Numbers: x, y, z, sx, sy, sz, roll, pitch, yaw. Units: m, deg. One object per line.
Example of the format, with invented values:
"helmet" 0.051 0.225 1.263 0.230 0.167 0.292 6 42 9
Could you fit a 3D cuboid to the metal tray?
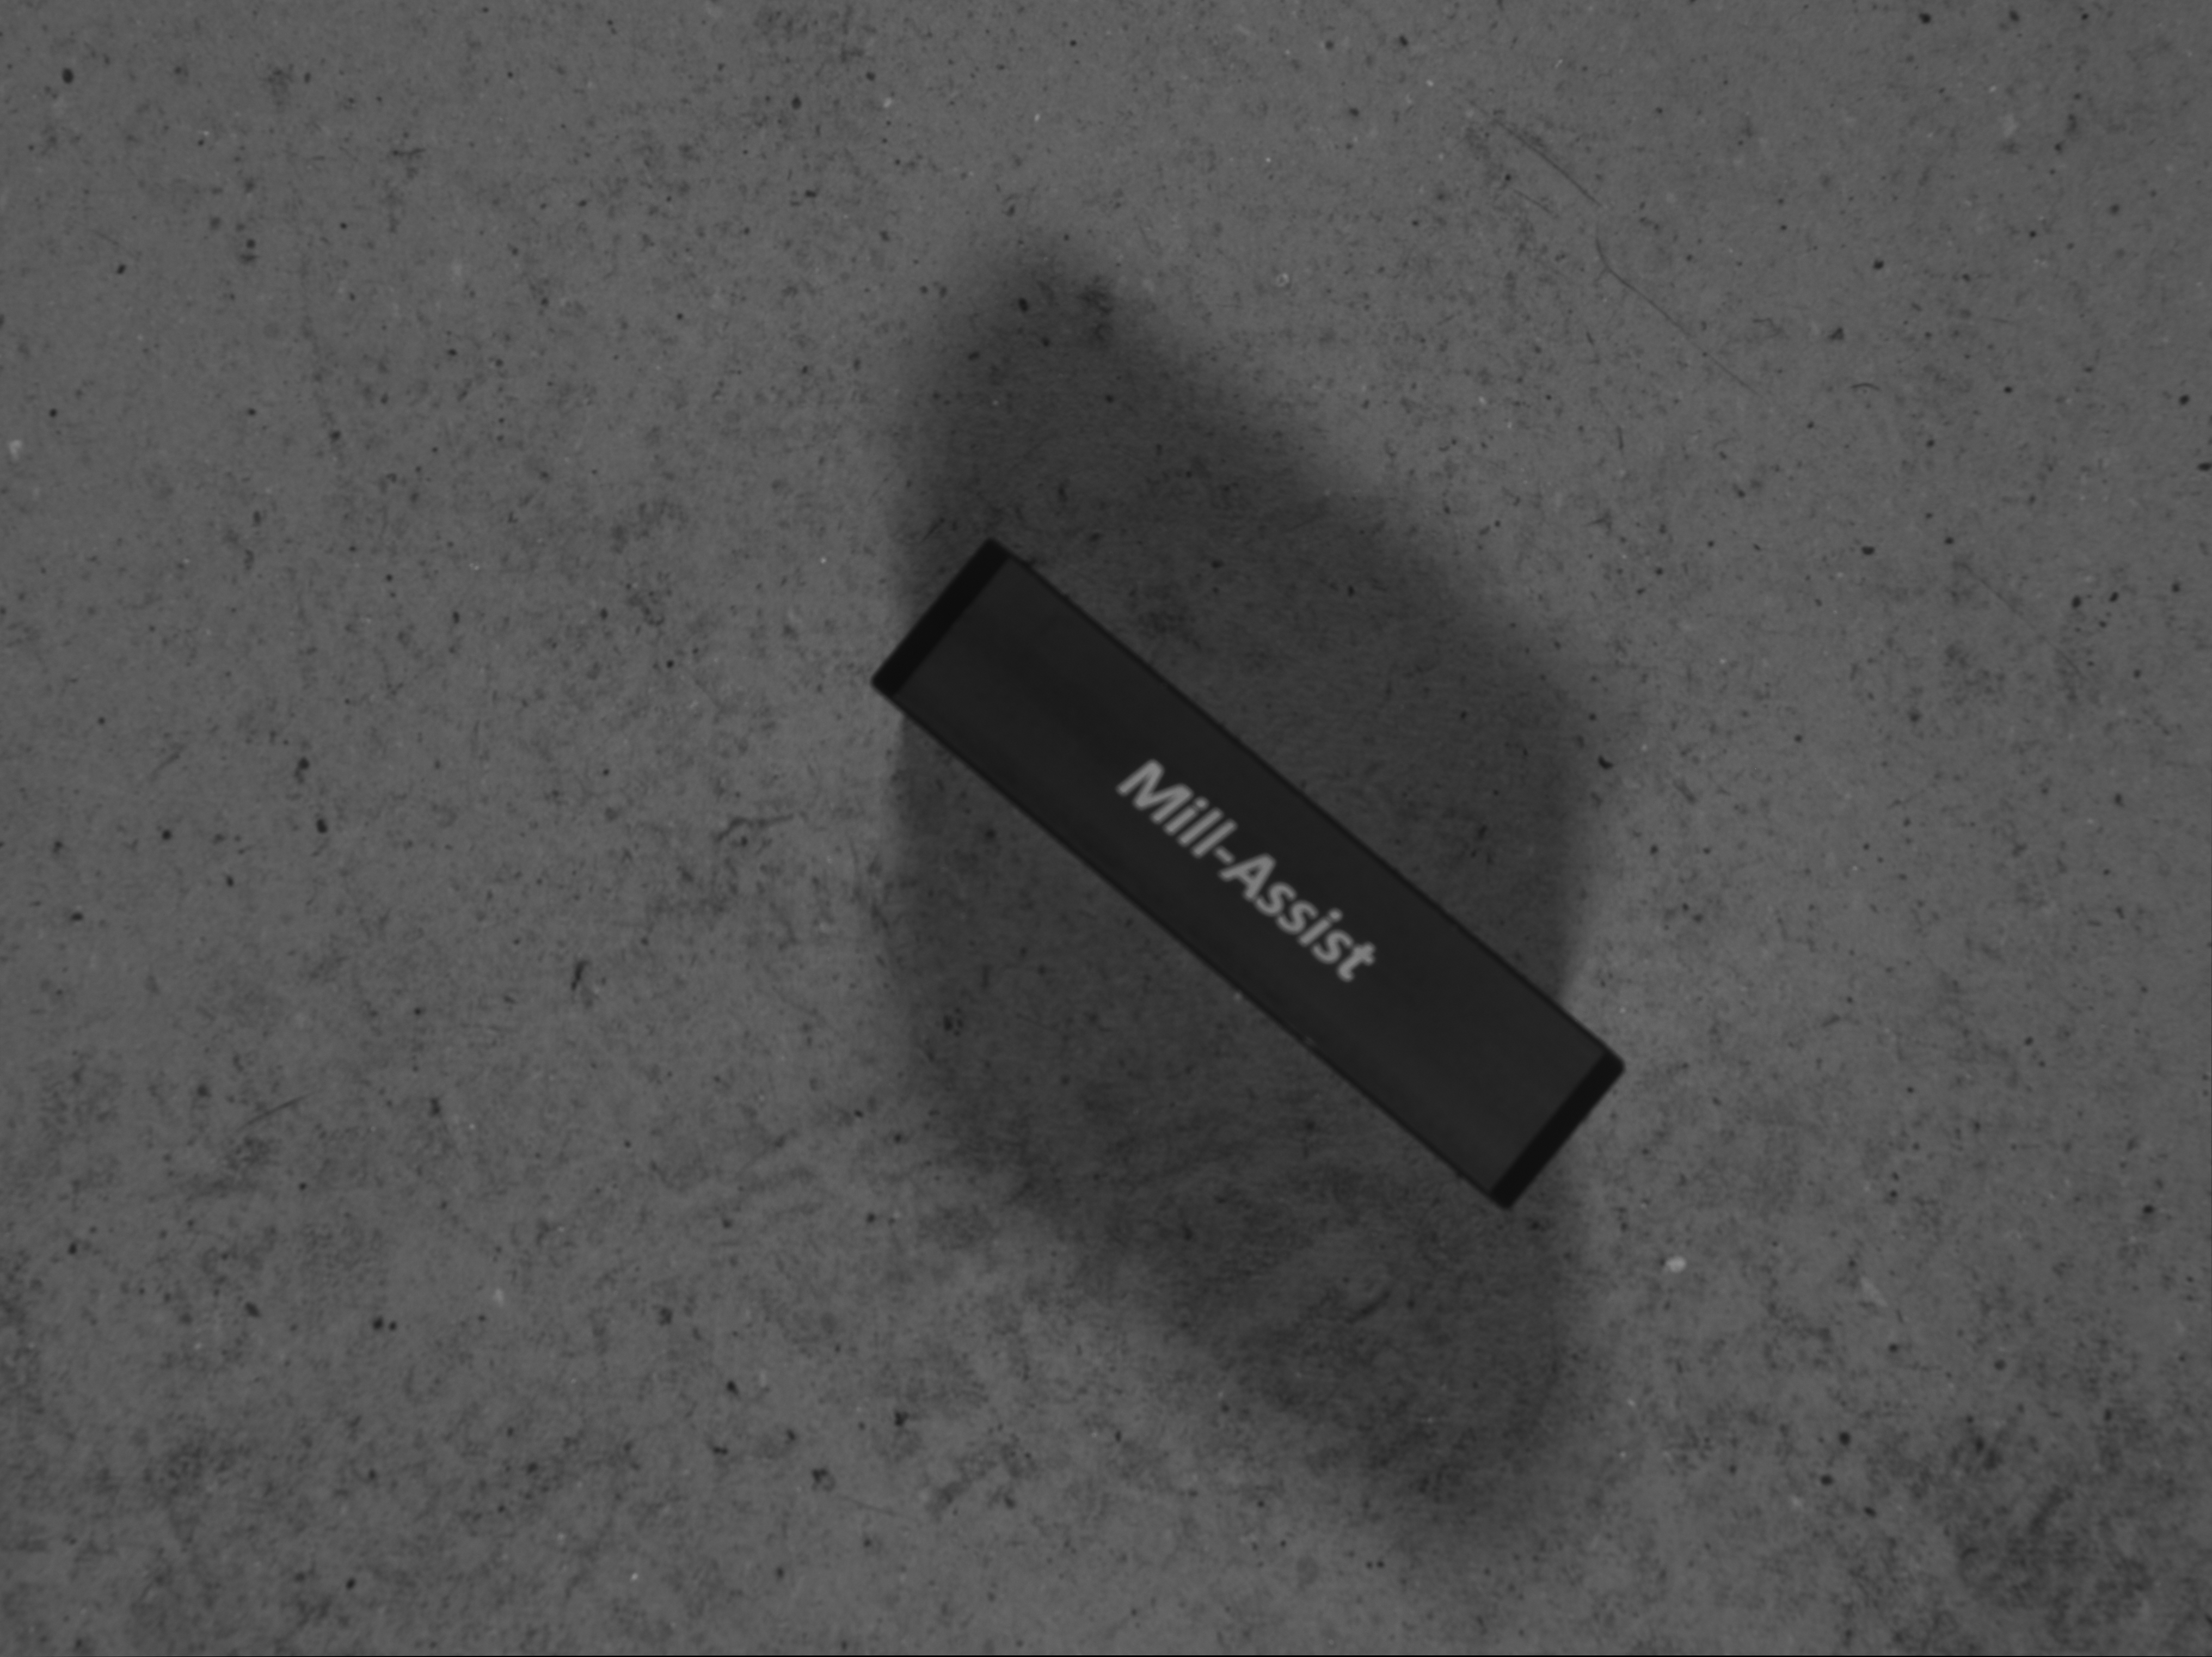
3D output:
"metal tray" 0.021 0.007 0.613 0.130 0.090 0.030 40 90 0
